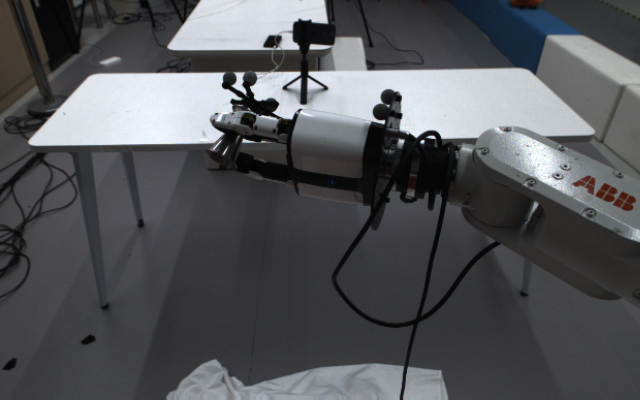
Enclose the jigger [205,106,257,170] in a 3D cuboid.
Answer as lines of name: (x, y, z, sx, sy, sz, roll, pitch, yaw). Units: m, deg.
jigger: (-0.106, -0.080, 0.591, 0.043, 0.043, 0.071, 20, 74, 24)
